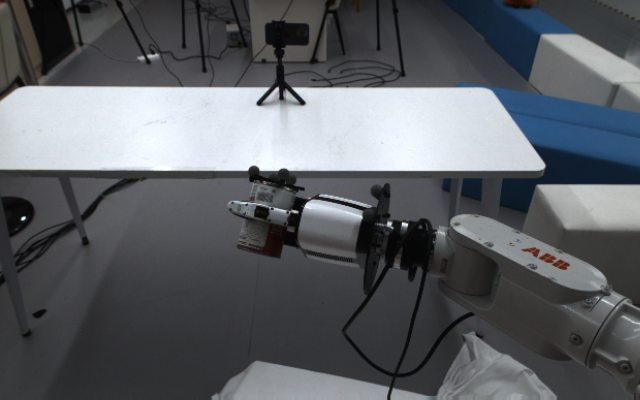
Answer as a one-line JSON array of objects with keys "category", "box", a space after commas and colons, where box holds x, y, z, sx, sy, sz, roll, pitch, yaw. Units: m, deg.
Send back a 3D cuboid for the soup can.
[{"category": "soup can", "box": [-0.078, 0.030, 0.710, 0.067, 0.101, 0.067, 13, -6, 1]}]
